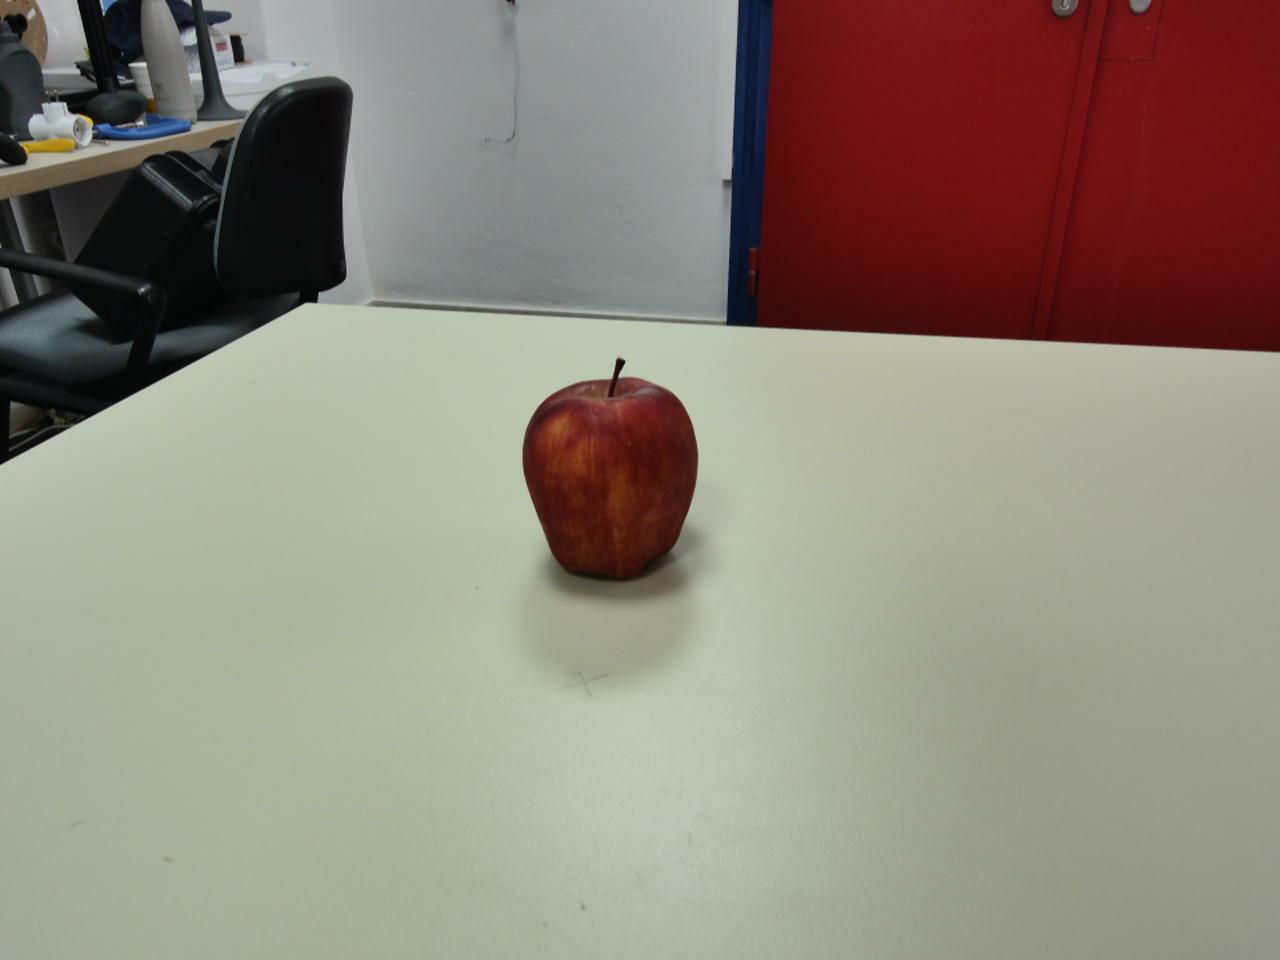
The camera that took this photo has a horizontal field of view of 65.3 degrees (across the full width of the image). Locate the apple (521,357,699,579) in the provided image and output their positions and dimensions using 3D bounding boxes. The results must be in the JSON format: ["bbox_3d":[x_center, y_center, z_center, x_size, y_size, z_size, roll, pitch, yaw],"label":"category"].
[{"bbox_3d":[-0.013,-0.009,0.431,0.083,0.090,0.083,-1,24,0],"label":"apple"}]
